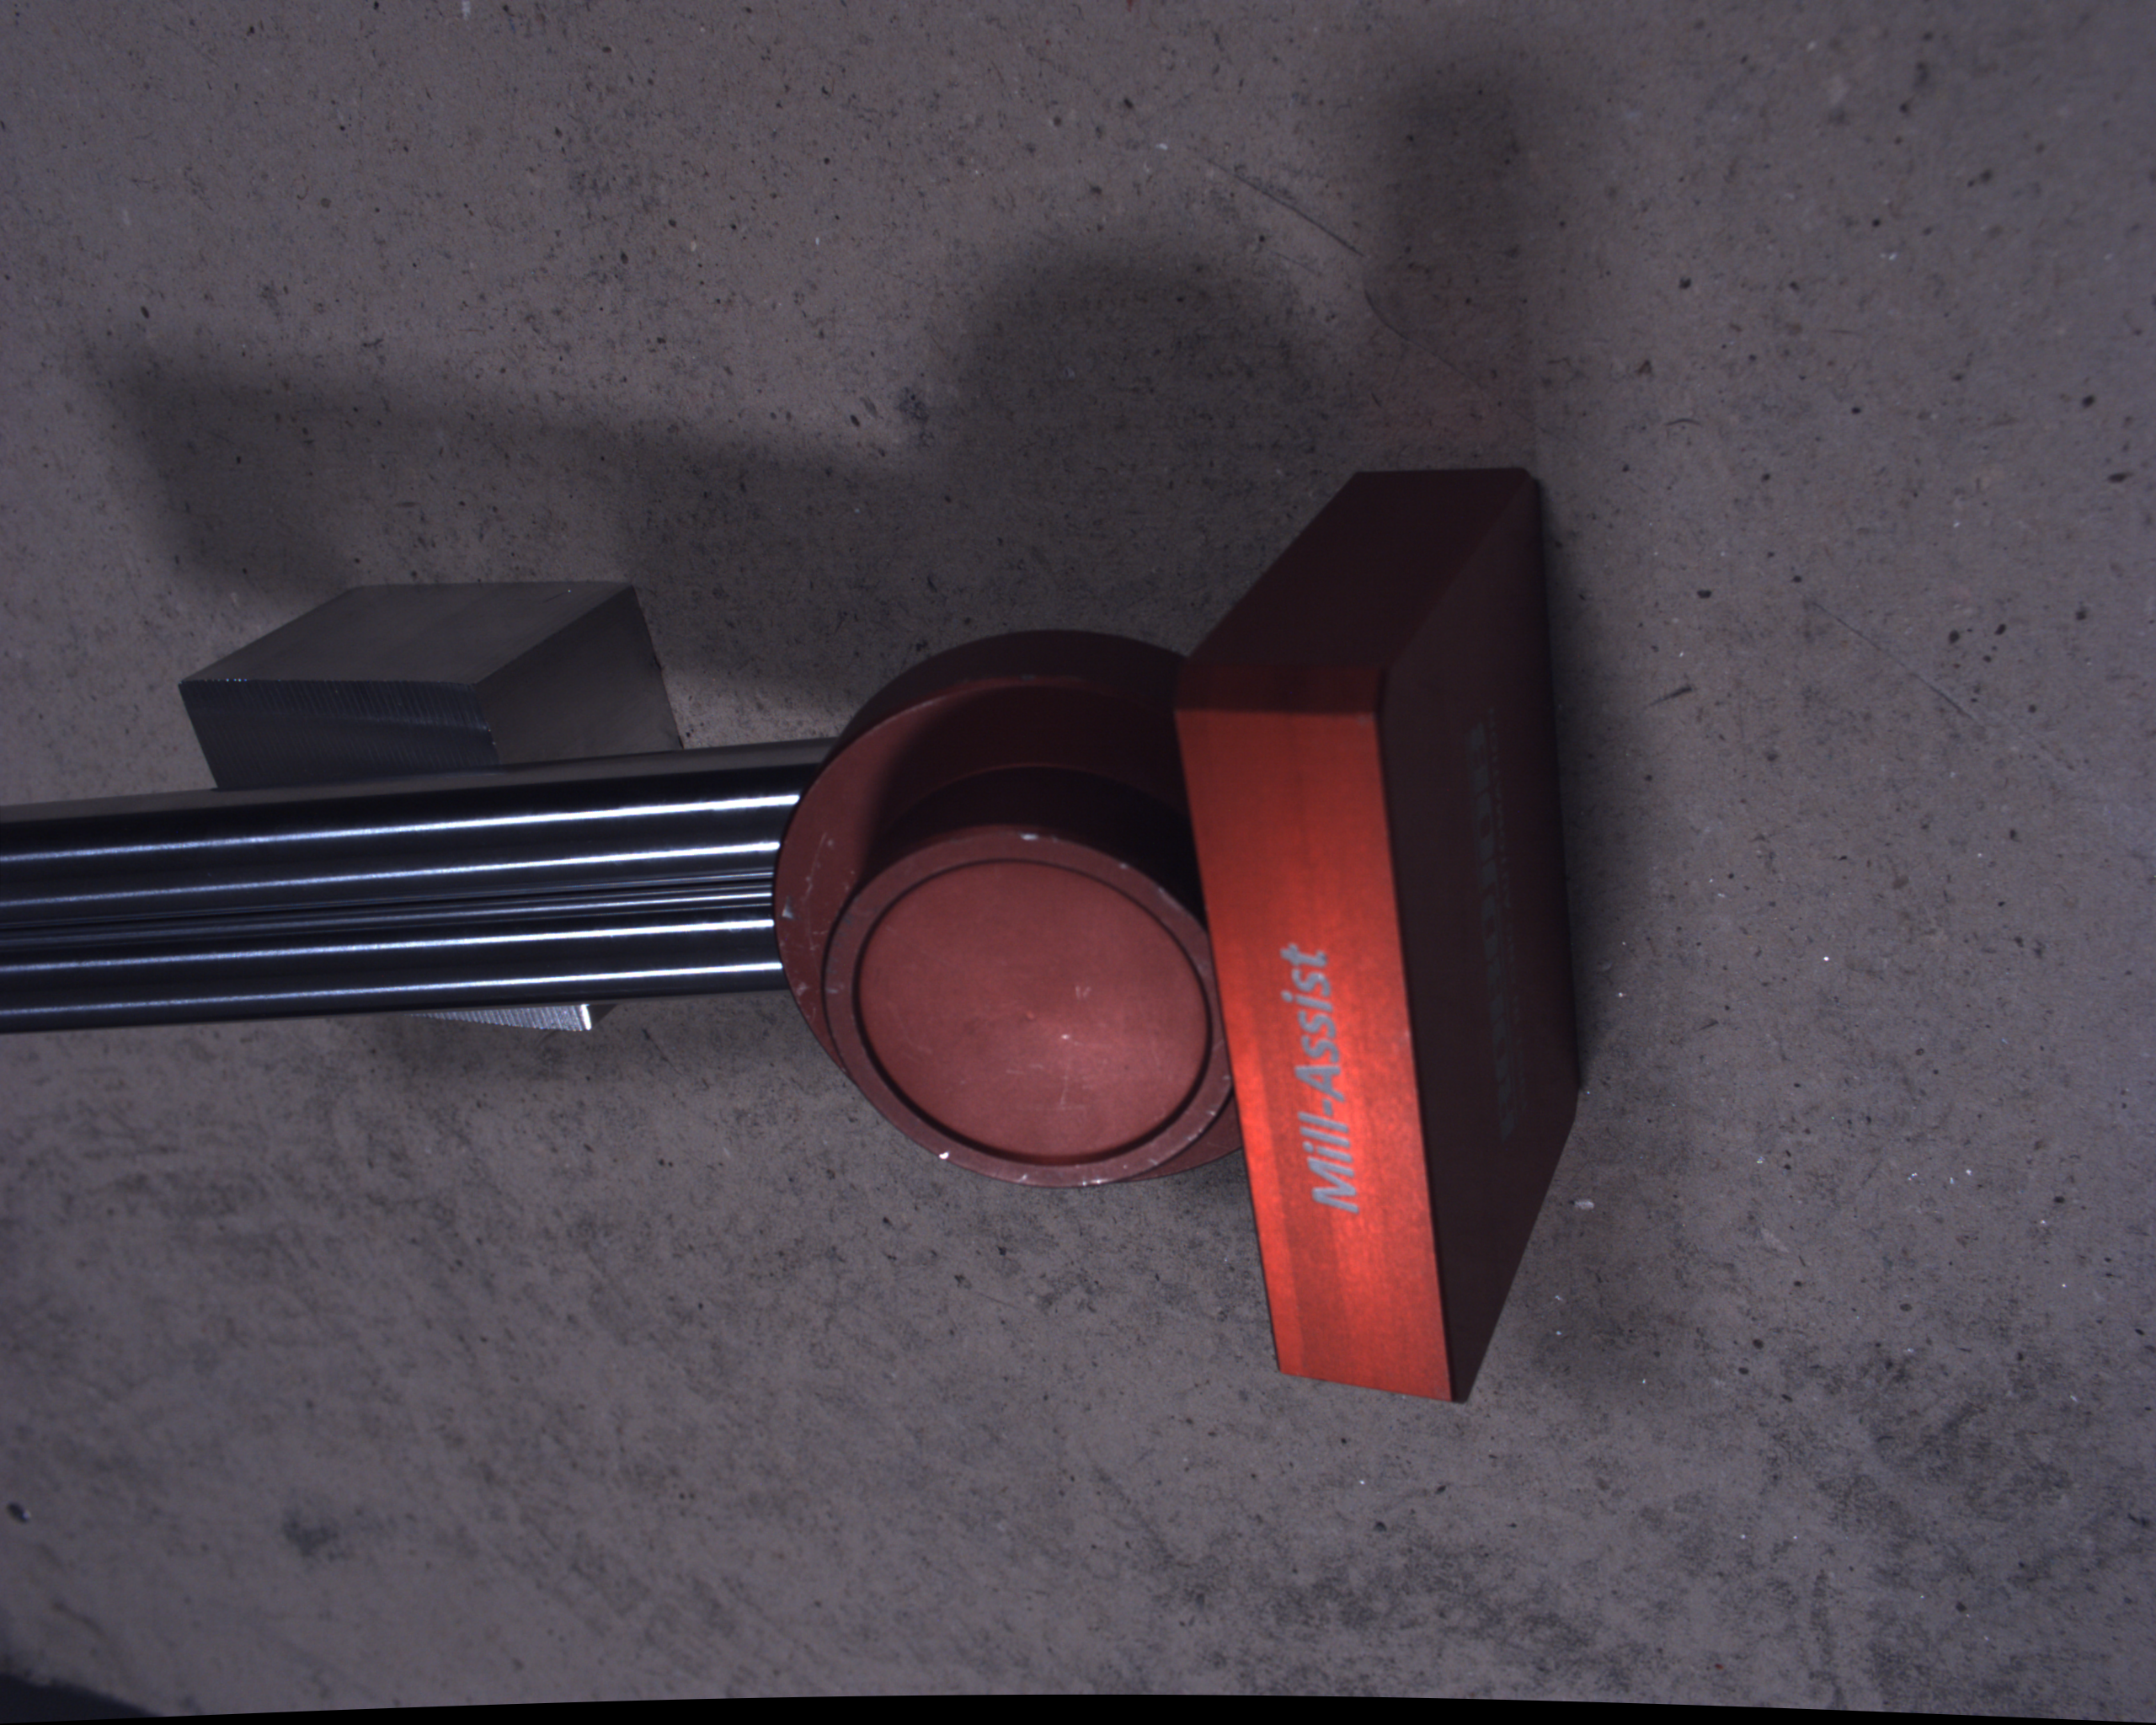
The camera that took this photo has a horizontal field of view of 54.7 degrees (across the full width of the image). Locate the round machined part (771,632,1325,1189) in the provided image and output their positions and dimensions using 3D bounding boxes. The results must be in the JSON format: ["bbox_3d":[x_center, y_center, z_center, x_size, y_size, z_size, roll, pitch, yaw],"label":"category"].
[{"bbox_3d":[-0.004,0.015,0.344,0.098,0.042,0.097,7,122,11],"label":"round machined part"}]

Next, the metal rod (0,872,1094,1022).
[{"bbox_3d":[-0.087,0.014,0.403,0.301,0.025,0.025,-3,118,15],"label":"metal rod"}]

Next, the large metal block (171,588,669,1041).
[{"bbox_3d":[-0.133,-0.012,0.448,0.080,0.050,0.079,3,120,26],"label":"large metal block"}]

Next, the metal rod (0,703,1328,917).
[{"bbox_3d":[-0.091,-0.010,0.390,0.301,0.025,0.025,-4,117,15],"label":"metal rod"}]

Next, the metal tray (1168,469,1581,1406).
[{"bbox_3d":[0.054,0.011,0.343,0.030,0.090,0.129,4,120,26],"label":"metal tray"}]
